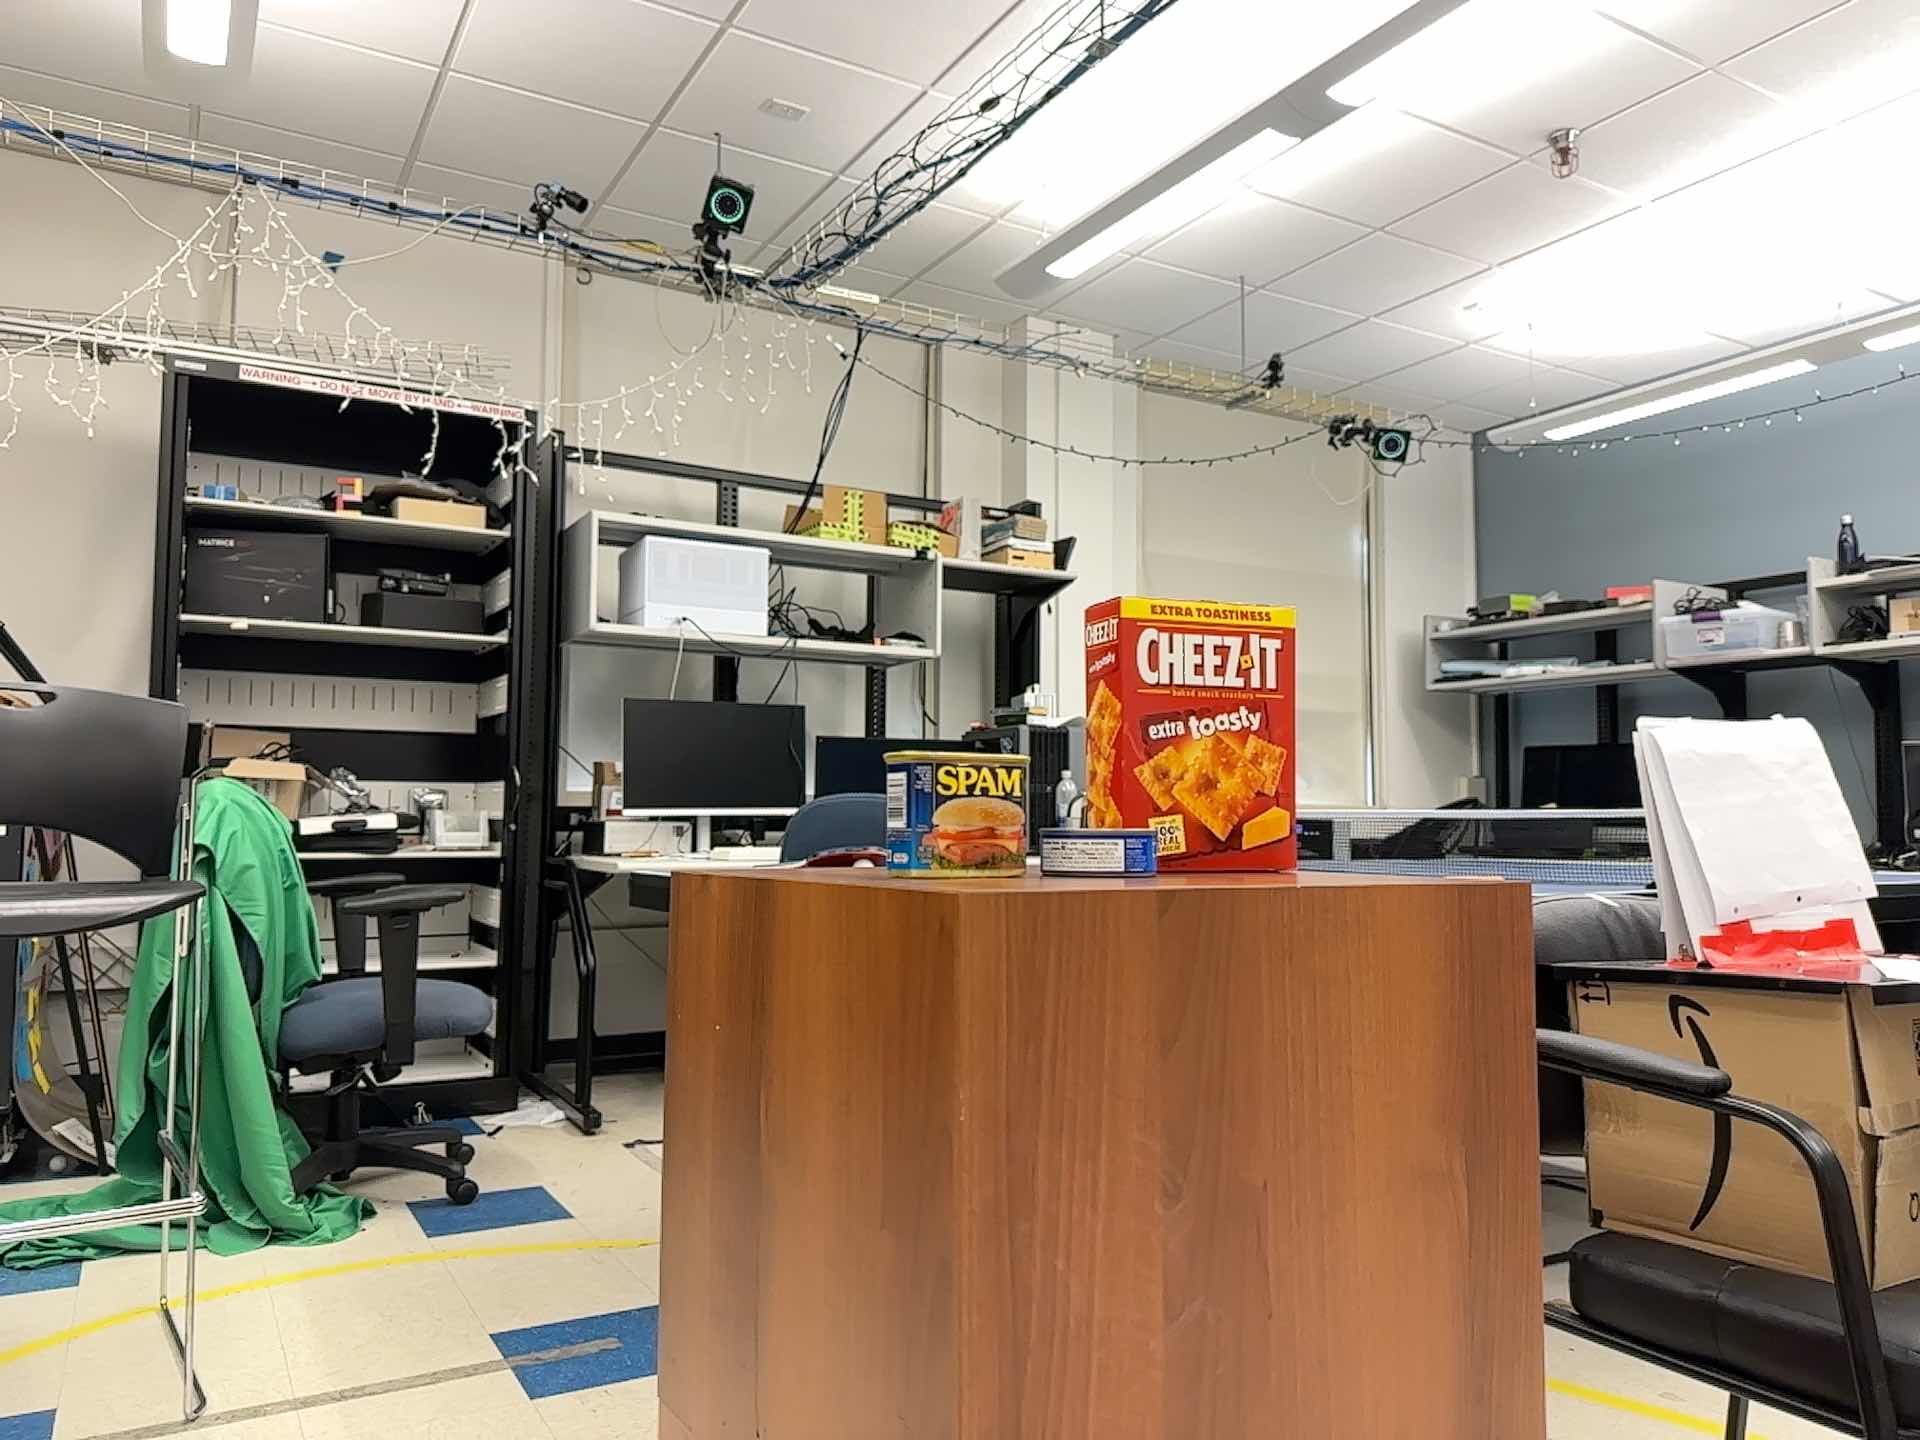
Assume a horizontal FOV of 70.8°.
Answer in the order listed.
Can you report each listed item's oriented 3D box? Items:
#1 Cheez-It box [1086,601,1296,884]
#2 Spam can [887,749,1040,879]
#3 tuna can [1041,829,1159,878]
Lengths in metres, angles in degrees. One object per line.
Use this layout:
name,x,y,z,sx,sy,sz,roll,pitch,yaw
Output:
Cheez-It box,0.188,0.021,1.103,0.159,0.214,0.062,3,-5,-24
Spam can,0.001,0.065,0.930,0.100,0.083,0.056,4,-6,-21
tuna can,0.101,0.097,0.978,0.083,0.034,0.083,0,-6,0
